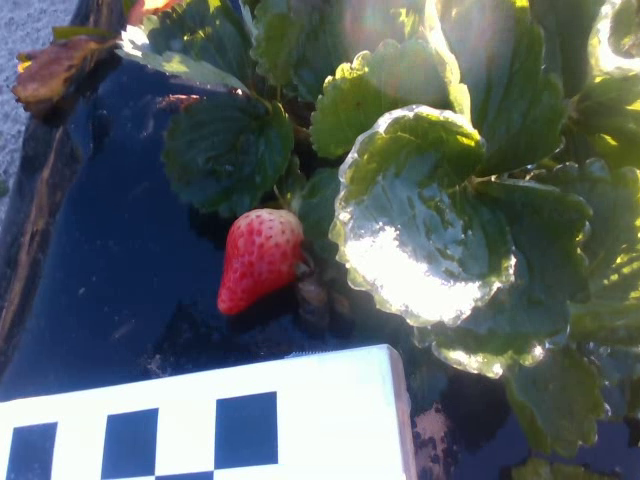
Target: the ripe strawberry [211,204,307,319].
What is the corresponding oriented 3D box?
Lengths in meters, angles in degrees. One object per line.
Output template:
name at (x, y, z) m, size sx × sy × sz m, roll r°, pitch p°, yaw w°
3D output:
ripe strawberry at (-0.037, 0.008, 0.292) m, size 0.040 × 0.065 × 0.040 m, roll 31°, pitch -8°, yaw 28°
